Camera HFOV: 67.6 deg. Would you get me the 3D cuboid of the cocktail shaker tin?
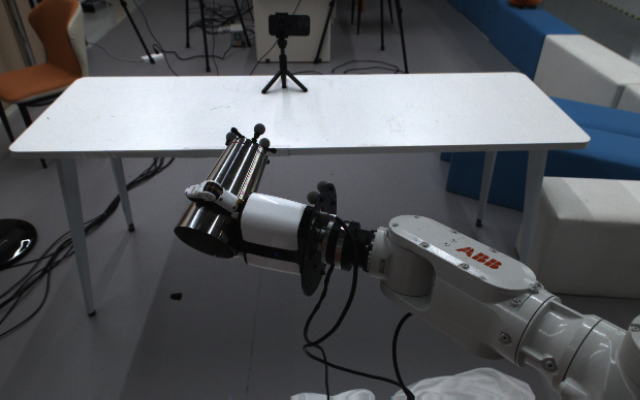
[{"bbox_3d":[-0.141,-0.010,0.725,0.093,0.093,0.170,13,60,15],"label":"cocktail shaker tin"}]
